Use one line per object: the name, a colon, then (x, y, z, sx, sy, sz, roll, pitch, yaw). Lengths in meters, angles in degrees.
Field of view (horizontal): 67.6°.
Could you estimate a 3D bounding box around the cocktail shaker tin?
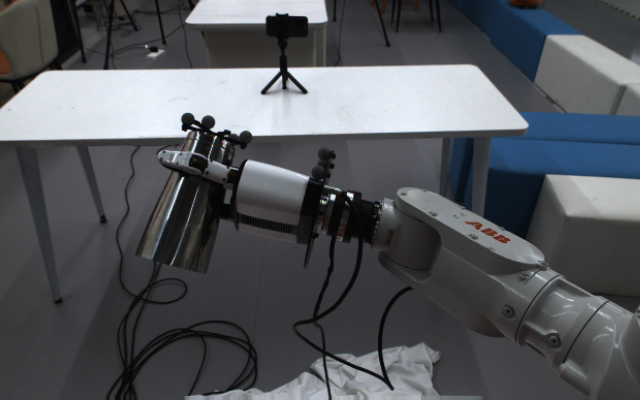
cocktail shaker tin: (-0.164, 0.000, 0.630, 0.093, 0.093, 0.170, 13, 80, 16)
